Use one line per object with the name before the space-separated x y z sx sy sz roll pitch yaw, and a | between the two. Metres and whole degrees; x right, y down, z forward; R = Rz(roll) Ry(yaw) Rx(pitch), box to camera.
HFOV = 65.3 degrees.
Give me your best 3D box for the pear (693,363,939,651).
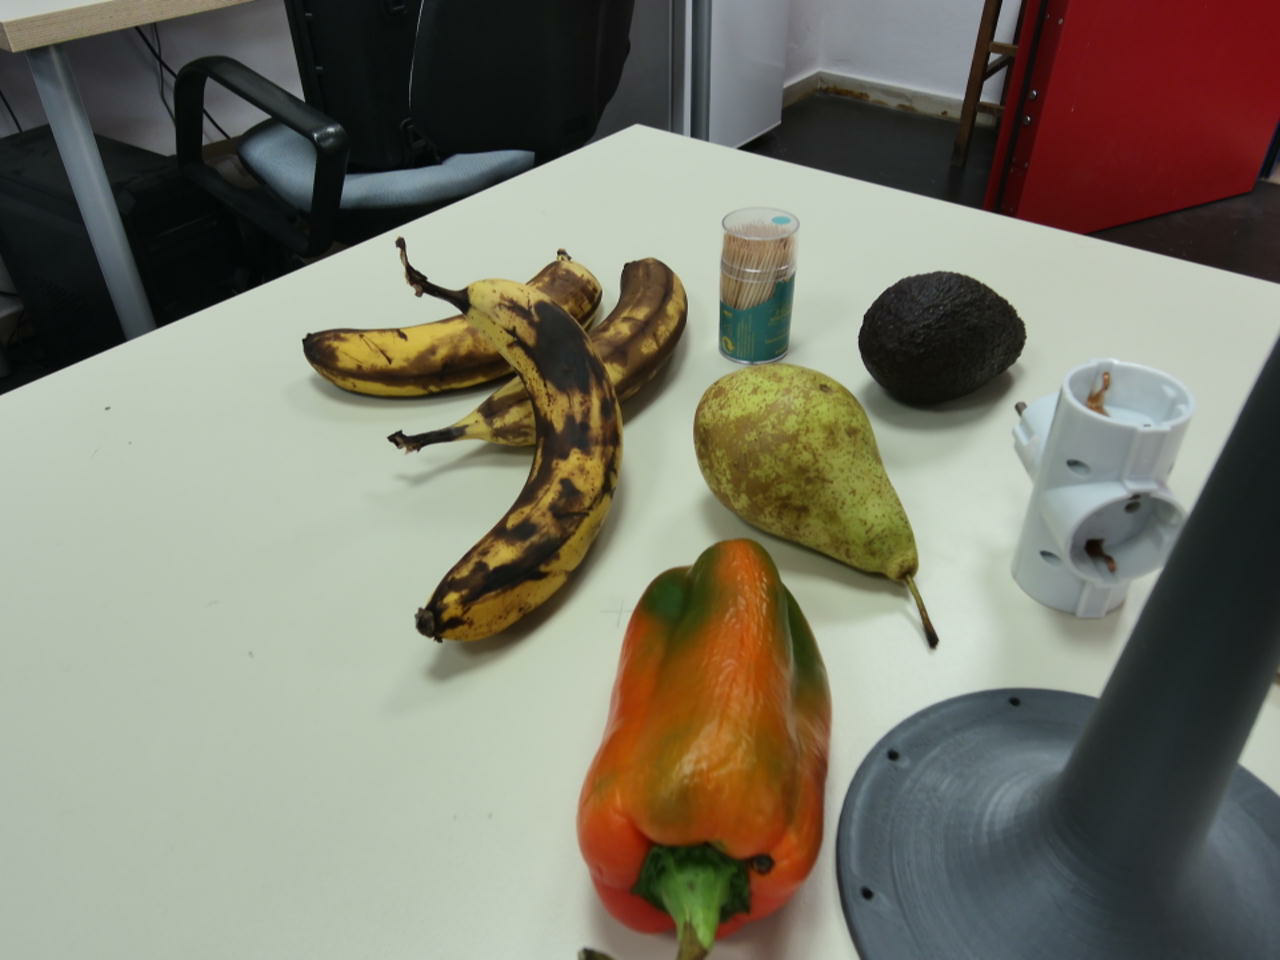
pear | 0.080 -0.005 0.417 0.128 0.075 0.071 21 41 25
